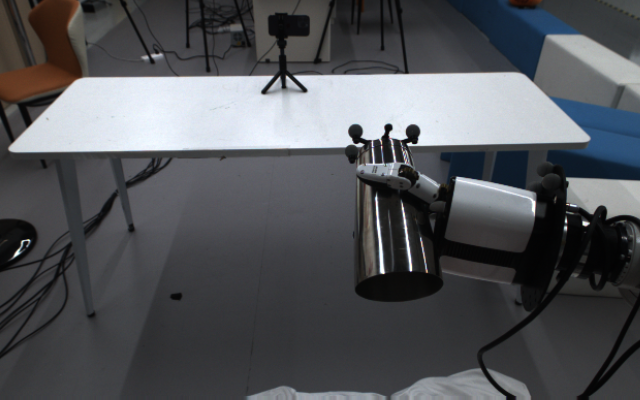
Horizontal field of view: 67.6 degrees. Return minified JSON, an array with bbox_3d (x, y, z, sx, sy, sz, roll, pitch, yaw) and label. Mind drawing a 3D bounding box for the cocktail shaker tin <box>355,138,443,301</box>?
[{"bbox_3d":[0.079,0.017,0.540,0.093,0.093,0.170,0,59,-3],"label":"cocktail shaker tin"}]
